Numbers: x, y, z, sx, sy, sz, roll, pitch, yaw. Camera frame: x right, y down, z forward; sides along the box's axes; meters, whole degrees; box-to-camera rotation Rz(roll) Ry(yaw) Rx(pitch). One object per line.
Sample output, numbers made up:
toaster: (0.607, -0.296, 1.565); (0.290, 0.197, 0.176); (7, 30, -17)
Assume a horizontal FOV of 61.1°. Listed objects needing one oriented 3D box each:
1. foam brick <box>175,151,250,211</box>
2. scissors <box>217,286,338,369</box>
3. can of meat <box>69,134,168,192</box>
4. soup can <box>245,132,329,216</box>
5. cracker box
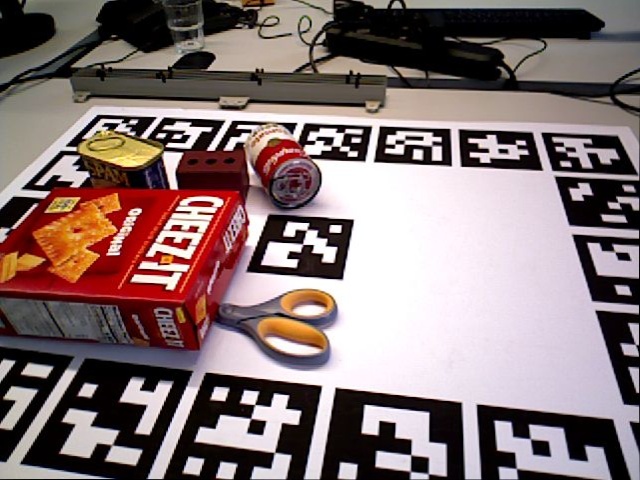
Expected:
foam brick: (-0.126, -0.068, 0.649); (0.078, 0.052, 0.052); (-3, 43, 1)
scissors: (-0.084, 0.076, 0.493); (0.202, 0.016, 0.086); (0, 43, 6)
can of meat: (-0.226, -0.068, 0.628); (0.102, 0.085, 0.056); (14, 45, 18)
soup can: (-0.042, -0.082, 0.655); (0.067, 0.069, 0.101); (-22, 40, -19)
cracker box: (-0.194, 0.023, 0.515); (0.213, 0.073, 0.161); (-3, 41, 8)
